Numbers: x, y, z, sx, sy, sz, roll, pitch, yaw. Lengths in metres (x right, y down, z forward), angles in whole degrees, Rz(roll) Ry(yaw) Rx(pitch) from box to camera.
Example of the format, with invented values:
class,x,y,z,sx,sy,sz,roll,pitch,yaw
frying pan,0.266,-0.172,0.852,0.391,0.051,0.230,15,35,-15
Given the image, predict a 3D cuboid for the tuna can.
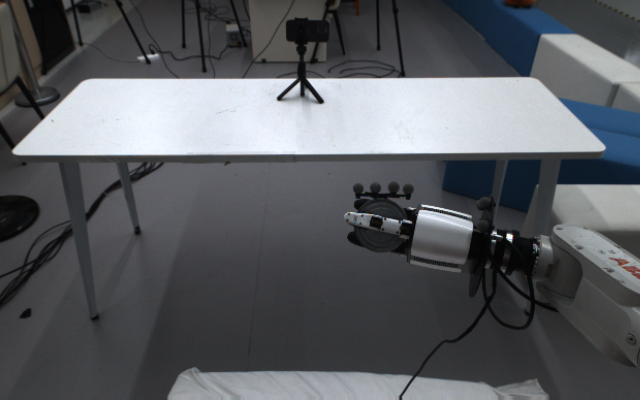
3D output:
class,x,y,z,sx,sy,sz,roll,pitch,yaw
tuna can,0.099,0.040,0.767,0.085,0.085,0.034,13,-3,16
